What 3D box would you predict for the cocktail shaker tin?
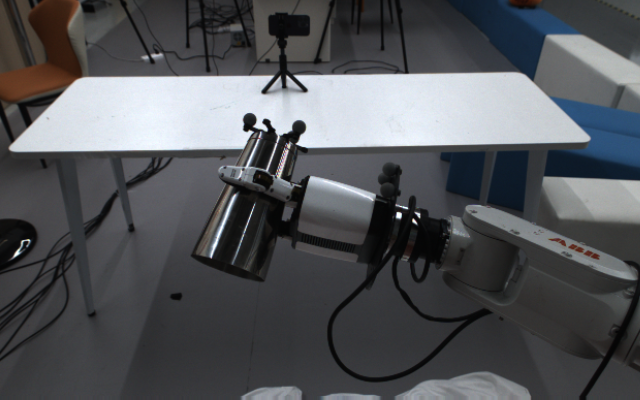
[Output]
[{"bbox_3d":[-0.085,0.005,0.594,0.093,0.093,0.170,13,70,15],"label":"cocktail shaker tin"}]
